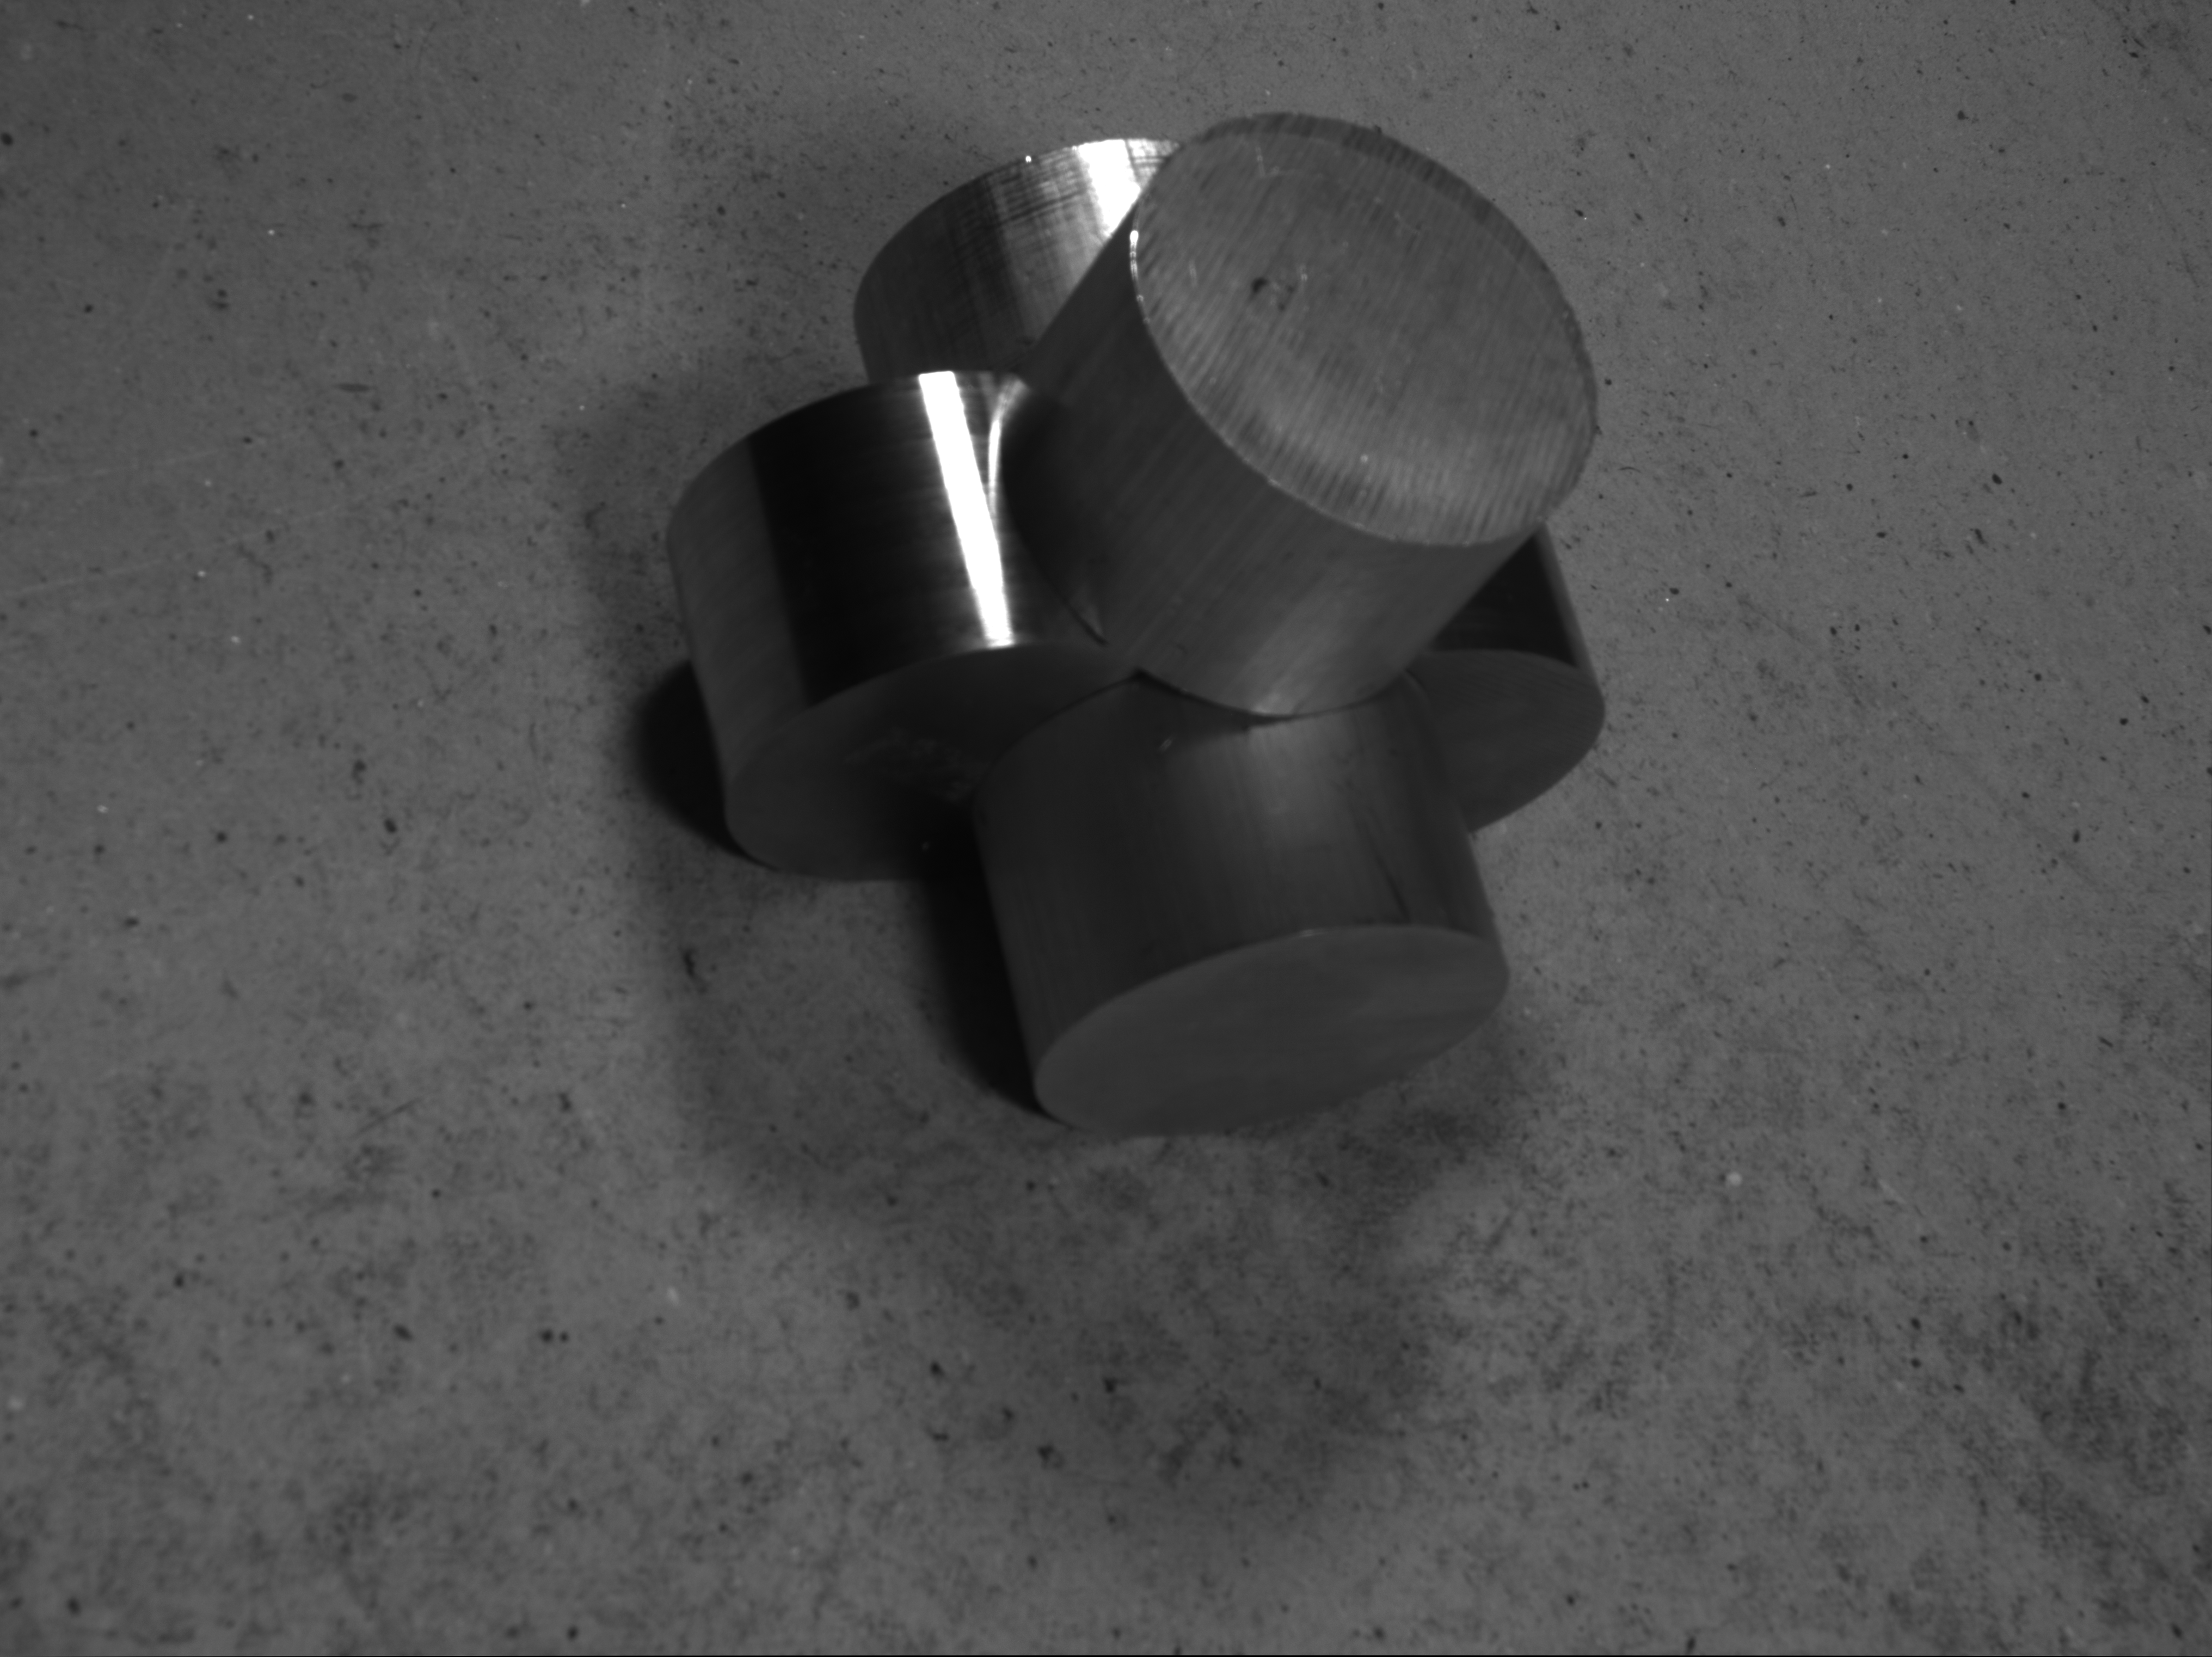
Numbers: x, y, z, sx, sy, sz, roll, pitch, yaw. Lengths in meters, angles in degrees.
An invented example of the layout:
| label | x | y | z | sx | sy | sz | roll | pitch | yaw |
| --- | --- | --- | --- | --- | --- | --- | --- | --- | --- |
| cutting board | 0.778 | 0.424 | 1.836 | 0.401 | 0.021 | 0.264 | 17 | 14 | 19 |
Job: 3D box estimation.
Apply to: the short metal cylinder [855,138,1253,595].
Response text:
| label | x | y | z | sx | sy | sz | roll | pitch | yaw |
| --- | --- | --- | --- | --- | --- | --- | --- | --- | --- |
| short metal cylinder | 0.000 | -0.078 | 0.652 | 0.080 | 0.080 | 0.050 | -2 | 62 | -29 |

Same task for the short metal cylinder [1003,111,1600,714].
| label | x | y | z | sx | sy | sz | roll | pitch | yaw |
| --- | --- | --- | --- | --- | --- | --- | --- | --- | --- |
| short metal cylinder | 0.030 | -0.065 | 0.577 | 0.080 | 0.050 | 0.080 | 14 | 56 | -21 |

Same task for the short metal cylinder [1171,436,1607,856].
| label | x | y | z | sx | sy | sz | roll | pitch | yaw |
| --- | --- | --- | --- | --- | --- | --- | --- | --- | --- |
| short metal cylinder | 0.043 | -0.032 | 0.647 | 0.080 | 0.080 | 0.050 | 0 | 62 | -28 |

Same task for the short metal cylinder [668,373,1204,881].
| label | x | y | z | sx | sy | sz | roll | pitch | yaw |
| --- | --- | --- | --- | --- | --- | --- | --- | --- | --- |
| short metal cylinder | -0.029 | -0.032 | 0.609 | 0.080 | 0.080 | 0.050 | -1 | 62 | -29 |

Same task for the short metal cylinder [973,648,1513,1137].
| label | x | y | z | sx | sy | sz | roll | pitch | yaw |
| --- | --- | --- | --- | --- | --- | --- | --- | --- | --- |
| short metal cylinder | 0.022 | 0.012 | 0.609 | 0.080 | 0.080 | 0.050 | 0 | 62 | -28 |
